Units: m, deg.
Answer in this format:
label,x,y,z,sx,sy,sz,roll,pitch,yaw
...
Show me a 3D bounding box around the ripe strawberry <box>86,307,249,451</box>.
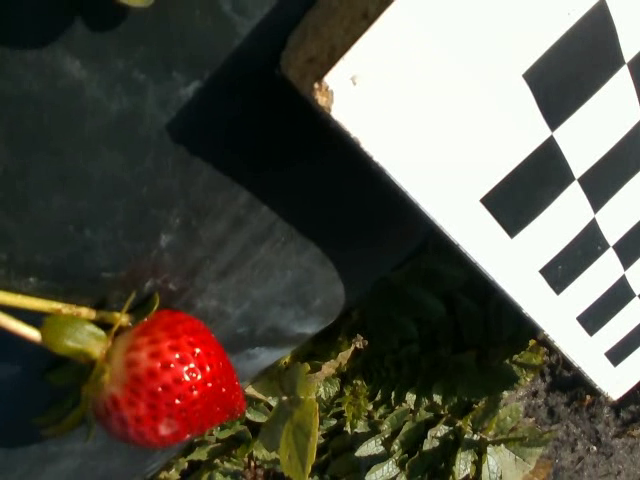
label,x,y,z,sx,sy,sz,roll,pitch,yaw
ripe strawberry,-0.034,0.036,0.155,0.044,0.040,0.037,19,25,-29
